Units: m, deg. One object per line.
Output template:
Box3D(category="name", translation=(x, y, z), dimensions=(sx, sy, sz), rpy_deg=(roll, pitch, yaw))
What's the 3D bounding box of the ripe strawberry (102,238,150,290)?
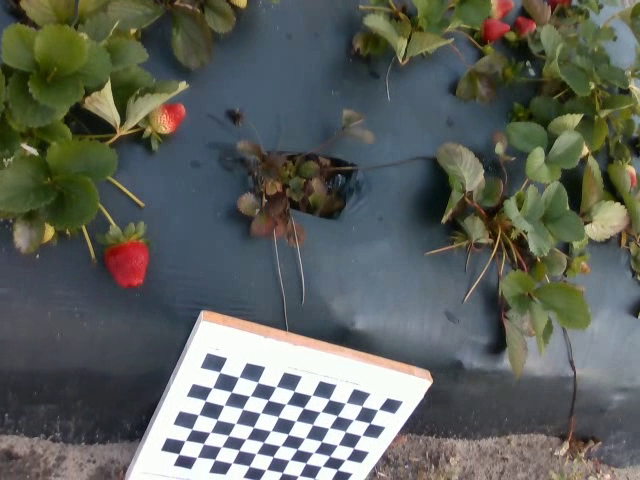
Box3D(category="ripe strawberry", translation=(-0.191, 0.026, 0.569), dimensions=(0.045, 0.055, 0.042), rpy_deg=(-23, -33, 10))
